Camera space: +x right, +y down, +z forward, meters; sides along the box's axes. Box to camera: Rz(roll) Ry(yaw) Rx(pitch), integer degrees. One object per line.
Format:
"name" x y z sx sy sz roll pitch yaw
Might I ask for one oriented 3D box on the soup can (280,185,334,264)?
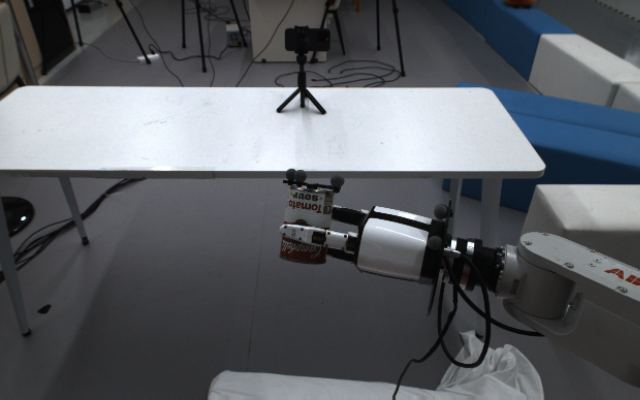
"soup can" -0.016 0.034 0.683 0.067 0.101 0.067 7 4 0
